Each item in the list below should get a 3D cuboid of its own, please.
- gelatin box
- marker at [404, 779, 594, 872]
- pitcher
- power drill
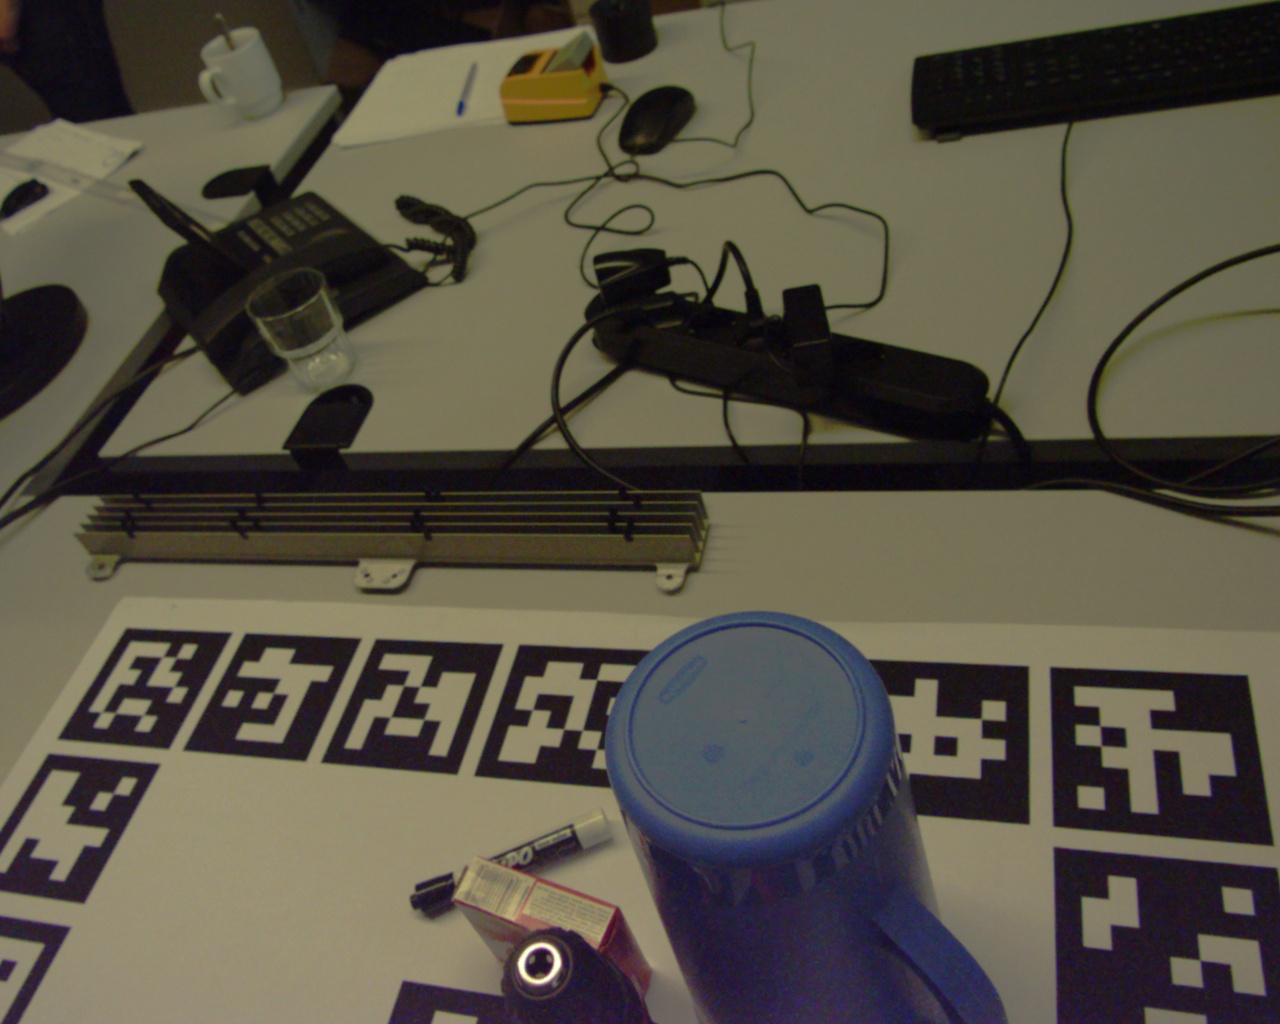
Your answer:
[{"bbox_3d":[-0.051,0.216,0.625,0.090,0.072,0.030,10,56,25],"label":"gelatin box"},{"bbox_3d":[-0.086,0.191,0.694,0.121,0.019,0.020,-21,46,2],"label":"marker"},{"bbox_3d":[0.069,0.161,0.525,0.133,0.240,0.191,-45,44,-18],"label":"pitcher"},{"bbox_3d":[0.008,0.254,0.493,0.057,0.183,0.189,-43,55,-17],"label":"power drill"}]
